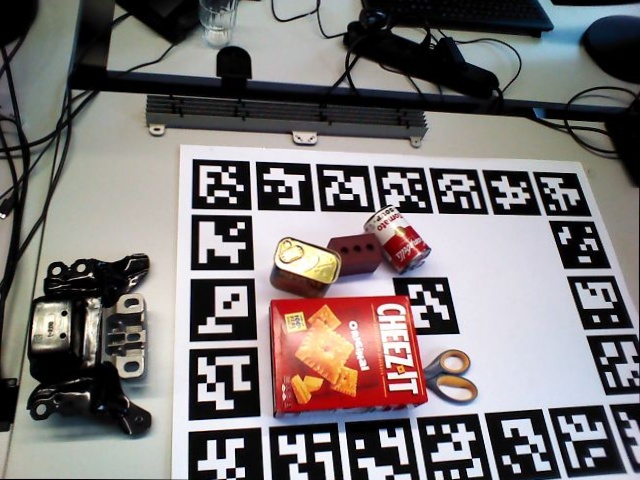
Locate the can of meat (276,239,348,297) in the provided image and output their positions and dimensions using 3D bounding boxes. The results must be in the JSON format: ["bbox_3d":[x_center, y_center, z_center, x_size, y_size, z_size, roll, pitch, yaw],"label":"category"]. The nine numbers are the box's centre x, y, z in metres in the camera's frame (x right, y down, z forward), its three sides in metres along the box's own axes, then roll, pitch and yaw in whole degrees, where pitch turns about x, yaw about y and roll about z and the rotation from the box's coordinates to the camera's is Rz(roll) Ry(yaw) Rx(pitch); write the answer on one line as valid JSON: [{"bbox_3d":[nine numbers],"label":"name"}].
[{"bbox_3d":[-0.016,0.046,0.803,0.102,0.084,0.057,13,64,-5],"label":"can of meat"}]

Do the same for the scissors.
[{"bbox_3d":[0.158,0.216,0.784,0.202,0.016,0.087,-4,67,-13],"label":"scissors"}]

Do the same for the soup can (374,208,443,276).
[{"bbox_3d":[0.150,0.001,0.877,0.067,0.068,0.102,-37,71,-24],"label":"soup can"}]

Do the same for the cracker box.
[{"bbox_3d":[0.047,0.170,0.749,0.213,0.072,0.163,-6,65,-10],"label":"cracker box"}]

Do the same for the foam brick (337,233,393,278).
[{"bbox_3d":[0.071,0.026,0.851,0.078,0.051,0.052,-9,68,-15],"label":"foam brick"}]
